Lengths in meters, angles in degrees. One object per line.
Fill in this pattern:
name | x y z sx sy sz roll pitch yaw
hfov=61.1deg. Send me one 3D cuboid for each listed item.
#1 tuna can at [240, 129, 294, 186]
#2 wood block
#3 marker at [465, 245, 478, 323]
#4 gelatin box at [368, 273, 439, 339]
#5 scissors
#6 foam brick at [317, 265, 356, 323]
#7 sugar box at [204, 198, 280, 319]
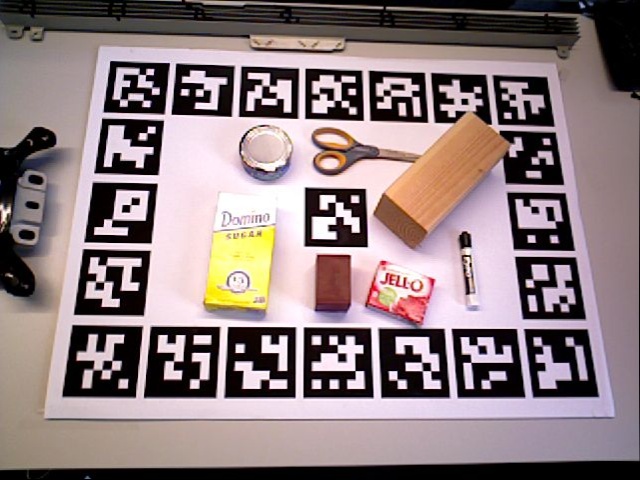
tuna can | -0.085 -0.131 0.873 0.085 0.034 0.085 1 74 -3
wood block | 0.203 -0.072 0.848 0.204 0.092 0.090 -43 79 -15
marker | 0.235 0.067 0.840 0.019 0.020 0.120 4 76 -3
gelatin box | 0.126 0.099 0.822 0.089 0.030 0.072 21 74 3
scissors | 0.086 -0.127 0.894 0.202 0.016 0.087 9 74 2
foam brick | 0.024 0.081 0.806 0.052 0.052 0.077 4 74 -2
sugar box | -0.115 0.028 0.823 0.092 0.046 0.175 7 73 -2
